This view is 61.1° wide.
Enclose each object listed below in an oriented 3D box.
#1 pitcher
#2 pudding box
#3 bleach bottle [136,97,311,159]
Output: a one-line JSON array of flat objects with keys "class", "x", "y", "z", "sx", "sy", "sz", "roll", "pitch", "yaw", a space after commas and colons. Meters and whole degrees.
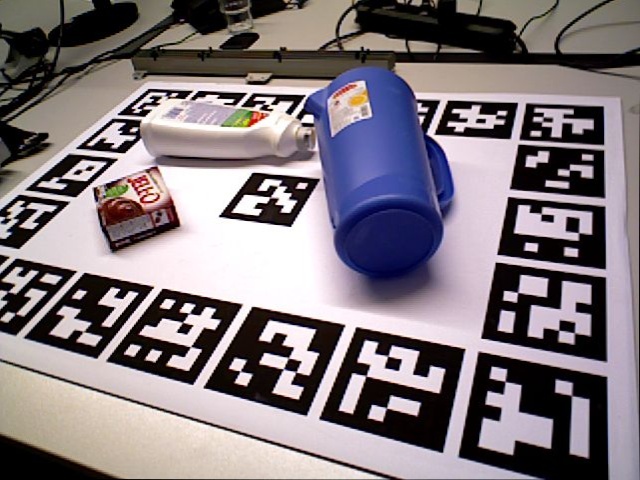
[{"class": "pitcher", "x": 0.068, "y": -0.064, "z": 0.603, "sx": 0.187, "sy": 0.137, "sz": 0.239, "roll": 16, "pitch": 42, "yaw": -21}, {"class": "pudding box", "x": -0.249, "y": -0.046, "z": 0.691, "sx": 0.089, "sy": 0.039, "sz": 0.113, "roll": -18, "pitch": 43, "yaw": -16}, {"class": "bleach bottle", "x": -0.134, "y": -0.156, "z": 0.777, "sx": 0.251, "sy": 0.069, "sz": 0.100, "roll": 7, "pitch": 49, "yaw": 18}]
